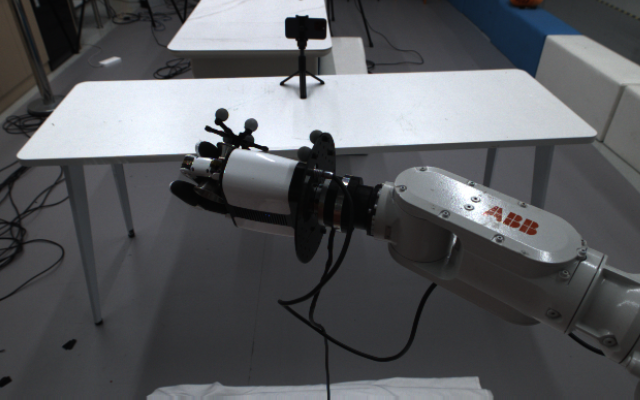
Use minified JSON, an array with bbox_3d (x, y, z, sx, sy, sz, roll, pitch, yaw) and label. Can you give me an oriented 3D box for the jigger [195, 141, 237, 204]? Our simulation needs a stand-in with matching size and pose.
[{"bbox_3d":[-0.125,-0.036,0.617,0.043,0.043,0.071,15,71,18],"label":"jigger"}]
